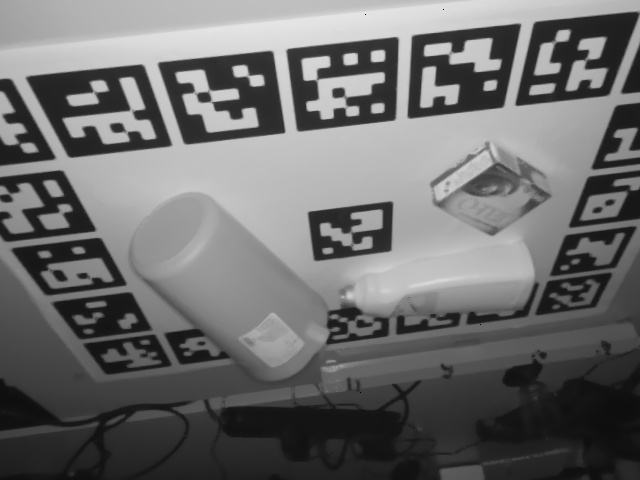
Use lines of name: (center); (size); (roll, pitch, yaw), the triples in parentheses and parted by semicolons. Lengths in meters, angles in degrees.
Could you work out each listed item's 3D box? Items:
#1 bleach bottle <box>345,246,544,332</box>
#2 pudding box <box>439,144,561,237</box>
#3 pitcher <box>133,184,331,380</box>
bleach bottle: (0.158, 0.072, 0.909); (0.251, 0.068, 0.102); (-7, 136, 2)
pudding box: (0.205, -0.050, 0.783); (0.115, 0.039, 0.088); (28, 134, -33)
pitcher: (-0.107, 0.047, 0.808); (0.186, 0.135, 0.243); (7, 148, 40)
